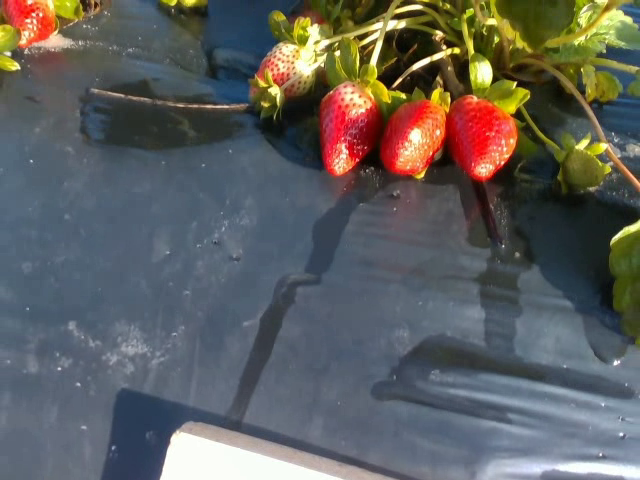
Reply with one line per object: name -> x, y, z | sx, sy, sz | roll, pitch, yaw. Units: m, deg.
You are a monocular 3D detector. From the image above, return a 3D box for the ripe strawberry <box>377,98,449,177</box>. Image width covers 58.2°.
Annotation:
ripe strawberry -> 0.038, -0.043, 0.238 | 0.030, 0.037, 0.039 | 23, 26, 8

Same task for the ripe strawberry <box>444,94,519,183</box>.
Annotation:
ripe strawberry -> 0.066, -0.037, 0.238 | 0.035, 0.034, 0.041 | 8, 37, 8

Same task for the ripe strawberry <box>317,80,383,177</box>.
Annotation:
ripe strawberry -> 0.011, -0.048, 0.248 | 0.031, 0.046, 0.023 | 12, -16, 8
